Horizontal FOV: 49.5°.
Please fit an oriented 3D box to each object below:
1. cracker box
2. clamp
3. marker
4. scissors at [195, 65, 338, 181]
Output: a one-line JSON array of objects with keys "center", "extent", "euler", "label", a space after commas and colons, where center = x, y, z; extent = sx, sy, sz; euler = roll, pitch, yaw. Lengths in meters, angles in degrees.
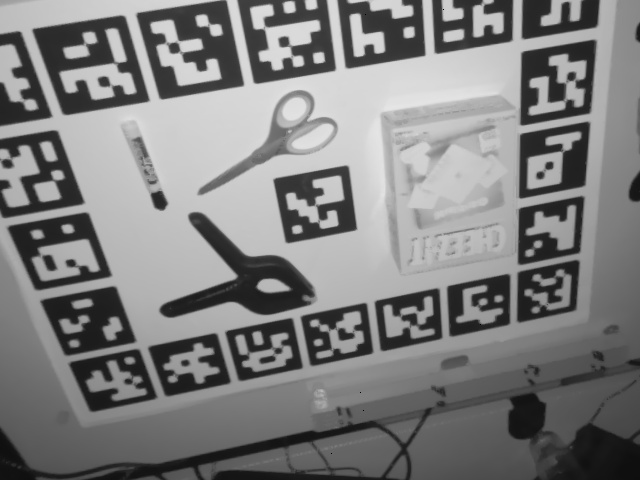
[{"center": [0.170, -0.087, 0.884], "extent": [0.165, 0.072, 0.212], "euler": [-9, 120, -5], "label": "cracker box"}, {"center": [-0.099, 0.038, 0.941], "extent": [0.204, 0.037, 0.163], "euler": [17, 116, -18], "label": "clamp"}, {"center": [-0.214, -0.108, 0.833], "extent": [0.020, 0.020, 0.120], "euler": [-13, 121, -2], "label": "marker"}, {"center": [-0.072, -0.128, 0.847], "extent": [0.201, 0.016, 0.088], "euler": [-34, 120, 12], "label": "scissors"}]
